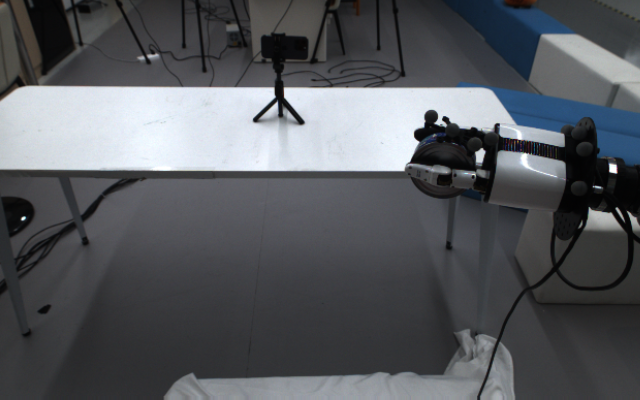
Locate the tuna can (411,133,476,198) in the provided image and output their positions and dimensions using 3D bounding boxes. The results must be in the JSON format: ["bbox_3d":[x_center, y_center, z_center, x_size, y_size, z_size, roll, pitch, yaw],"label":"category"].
[{"bbox_3d":[0.167,-0.048,0.652,0.085,0.085,0.034,12,32,14],"label":"tuna can"}]
